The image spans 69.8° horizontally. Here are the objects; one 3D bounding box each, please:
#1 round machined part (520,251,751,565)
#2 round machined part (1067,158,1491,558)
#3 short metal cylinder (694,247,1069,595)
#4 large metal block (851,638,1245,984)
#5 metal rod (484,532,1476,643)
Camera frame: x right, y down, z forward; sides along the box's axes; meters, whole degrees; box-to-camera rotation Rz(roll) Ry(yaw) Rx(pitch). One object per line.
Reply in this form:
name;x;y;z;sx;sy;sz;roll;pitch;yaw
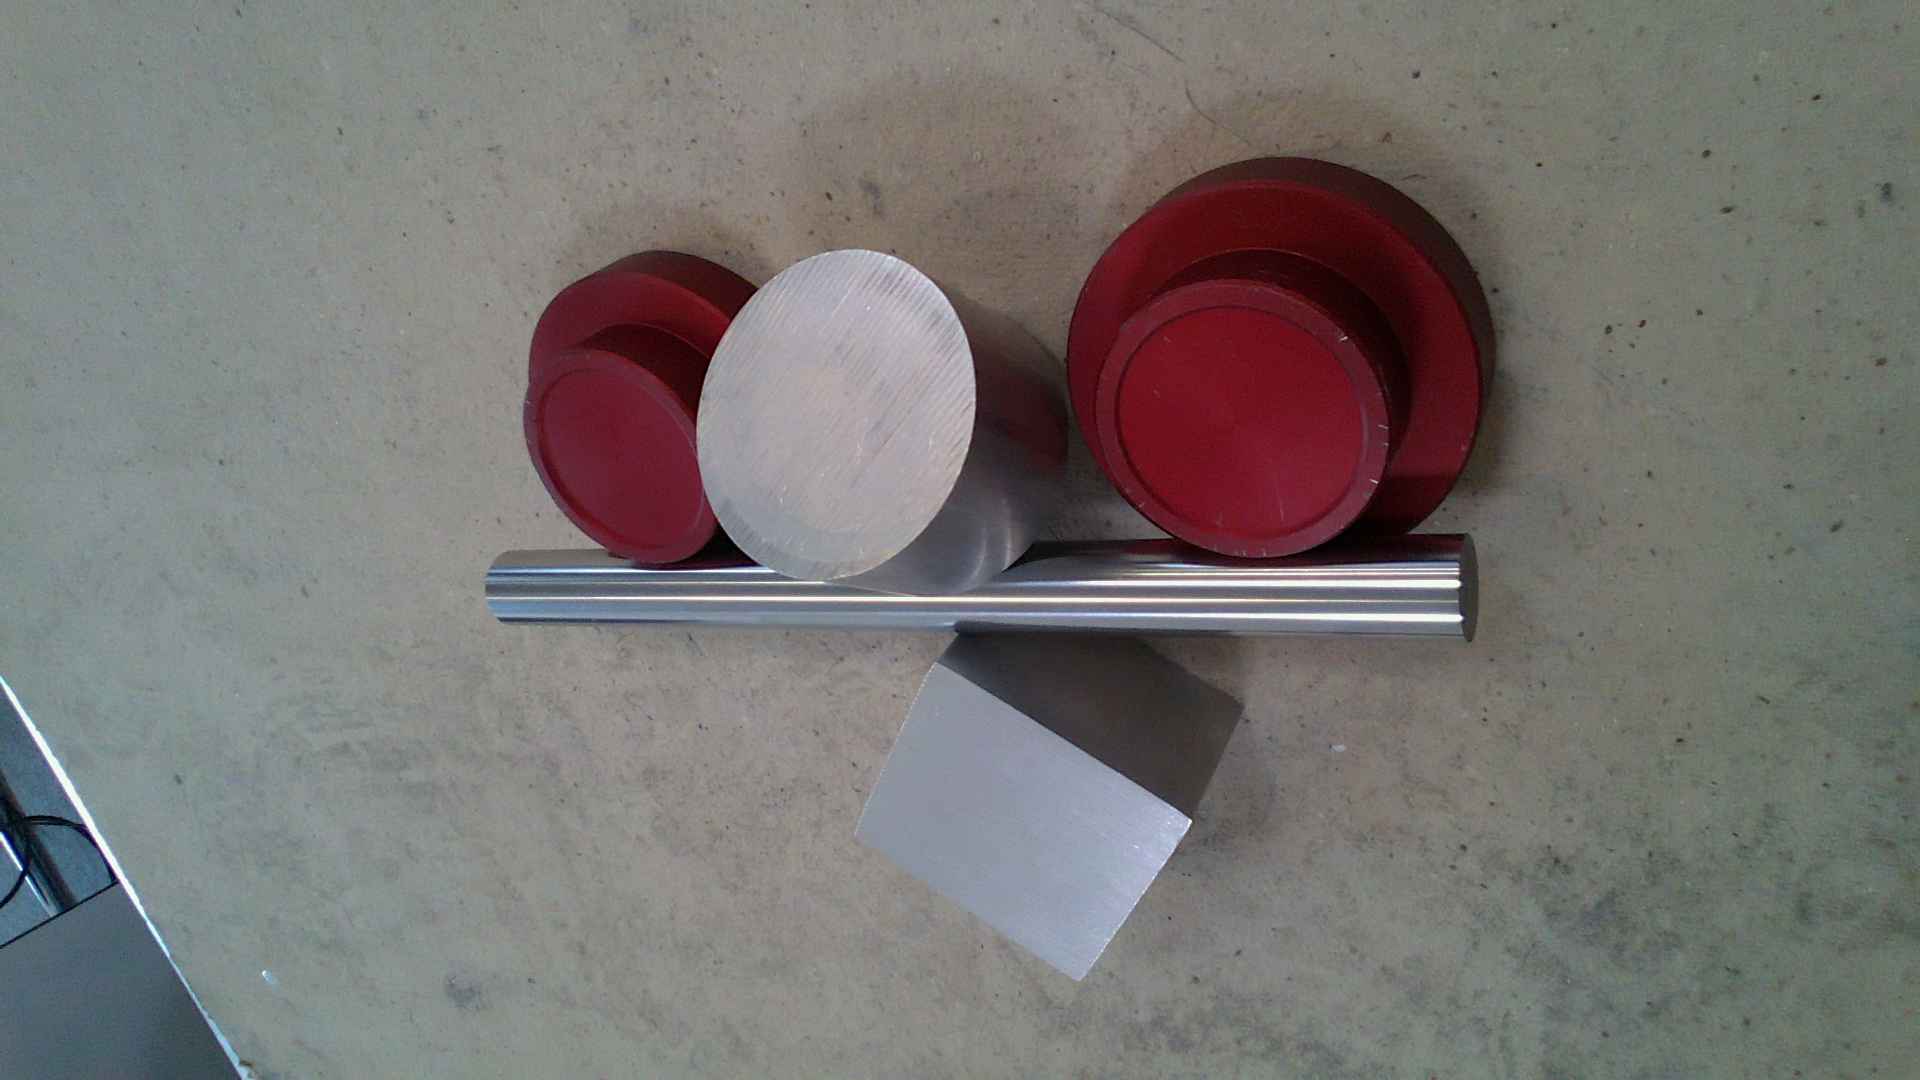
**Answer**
round machined part;-0.090;-0.032;0.410;0.098;0.042;0.098;13;124;21
round machined part;0.071;-0.035;0.323;0.098;0.042;0.098;13;124;21
short metal cylinder;-0.019;-0.027;0.347;0.080;0.050;0.080;-4;81;28
large metal block;0.024;0.069;0.404;0.080;0.050;0.080;31;129;8
metal rod;-0.016;0.013;0.382;0.299;0.025;0.025;-1;118;29
